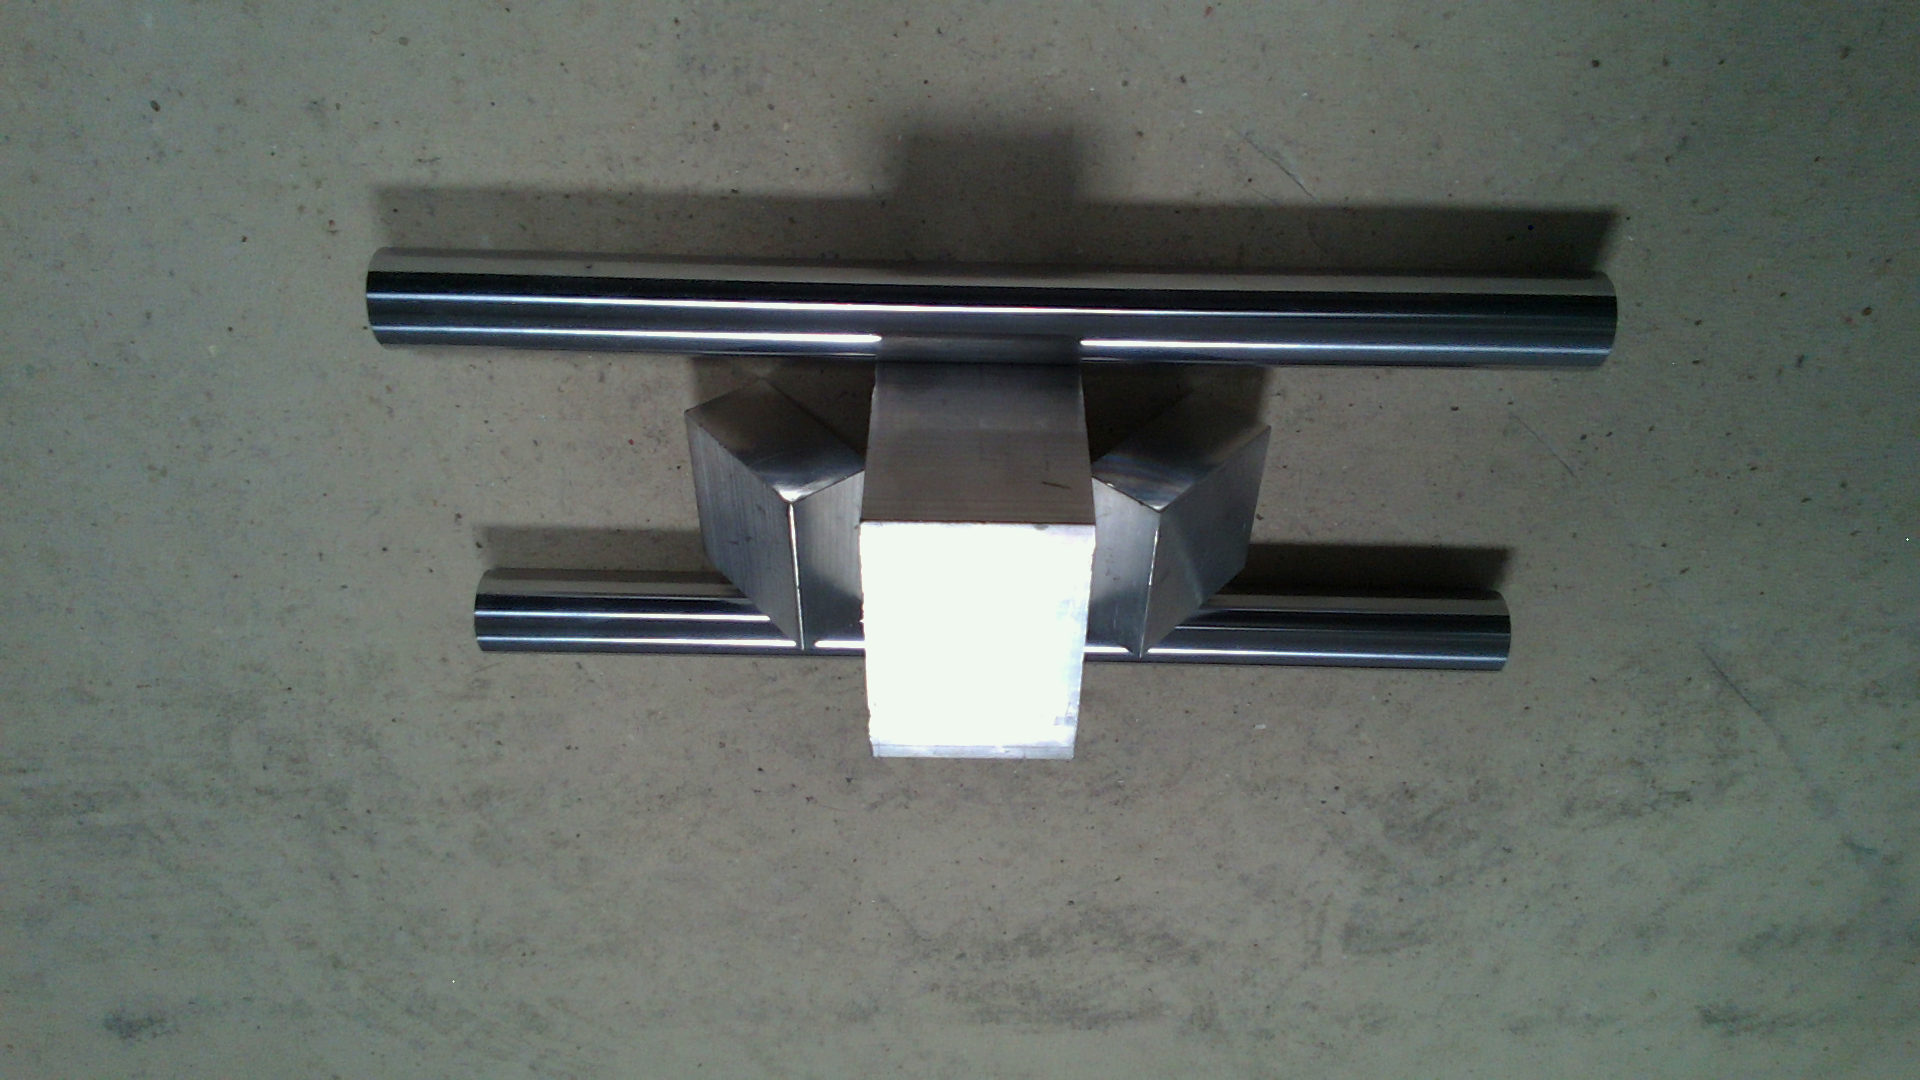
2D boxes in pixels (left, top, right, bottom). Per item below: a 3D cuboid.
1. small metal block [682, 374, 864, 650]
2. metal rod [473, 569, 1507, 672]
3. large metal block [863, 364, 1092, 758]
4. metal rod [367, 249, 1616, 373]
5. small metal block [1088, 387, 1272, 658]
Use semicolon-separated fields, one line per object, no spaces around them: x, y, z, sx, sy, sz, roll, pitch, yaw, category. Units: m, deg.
-0.047;-0.008;0.366;0.025;0.050;0.050;-27;138;-29;small metal block
0.010;0.024;0.411;0.300;0.025;0.025;1;130;-1;metal rod
0.004;-0.001;0.357;0.050;0.080;0.080;0;130;0;large metal block
0.009;-0.057;0.343;0.300;0.025;0.025;1;130;-1;metal rod
0.056;-0.005;0.369;0.025;0.050;0.050;30;138;30;small metal block
